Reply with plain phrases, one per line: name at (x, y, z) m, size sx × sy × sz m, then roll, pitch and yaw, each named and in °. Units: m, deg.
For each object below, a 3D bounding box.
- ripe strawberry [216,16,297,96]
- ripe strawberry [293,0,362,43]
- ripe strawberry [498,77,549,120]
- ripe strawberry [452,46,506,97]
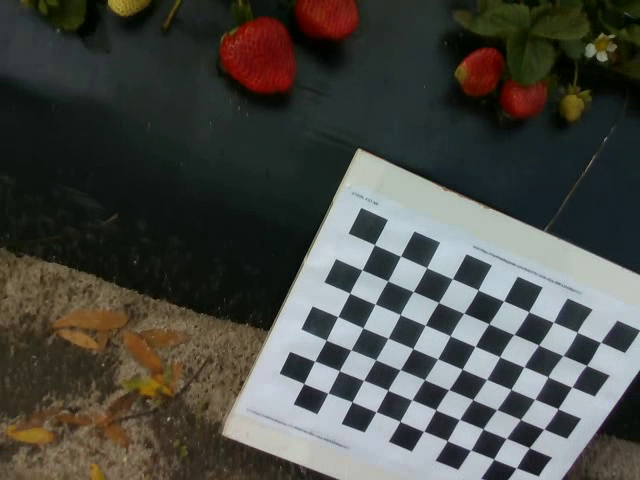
ripe strawberry at (-0.043, -0.136, 0.498) m, size 0.058 × 0.065 × 0.043 m, roll -33°, pitch -2°, yaw 17°
ripe strawberry at (0.007, -0.177, 0.510) m, size 0.050 × 0.060 × 0.051 m, roll -39°, pitch -35°, yaw 18°
ripe strawberry at (0.160, -0.112, 0.518) m, size 0.043 × 0.049 × 0.041 m, roll 19°, pitch -44°, yaw -5°
ripe strawberry at (0.123, -0.135, 0.523) m, size 0.053 × 0.047 × 0.038 m, roll -11°, pitch 28°, yaw -29°
